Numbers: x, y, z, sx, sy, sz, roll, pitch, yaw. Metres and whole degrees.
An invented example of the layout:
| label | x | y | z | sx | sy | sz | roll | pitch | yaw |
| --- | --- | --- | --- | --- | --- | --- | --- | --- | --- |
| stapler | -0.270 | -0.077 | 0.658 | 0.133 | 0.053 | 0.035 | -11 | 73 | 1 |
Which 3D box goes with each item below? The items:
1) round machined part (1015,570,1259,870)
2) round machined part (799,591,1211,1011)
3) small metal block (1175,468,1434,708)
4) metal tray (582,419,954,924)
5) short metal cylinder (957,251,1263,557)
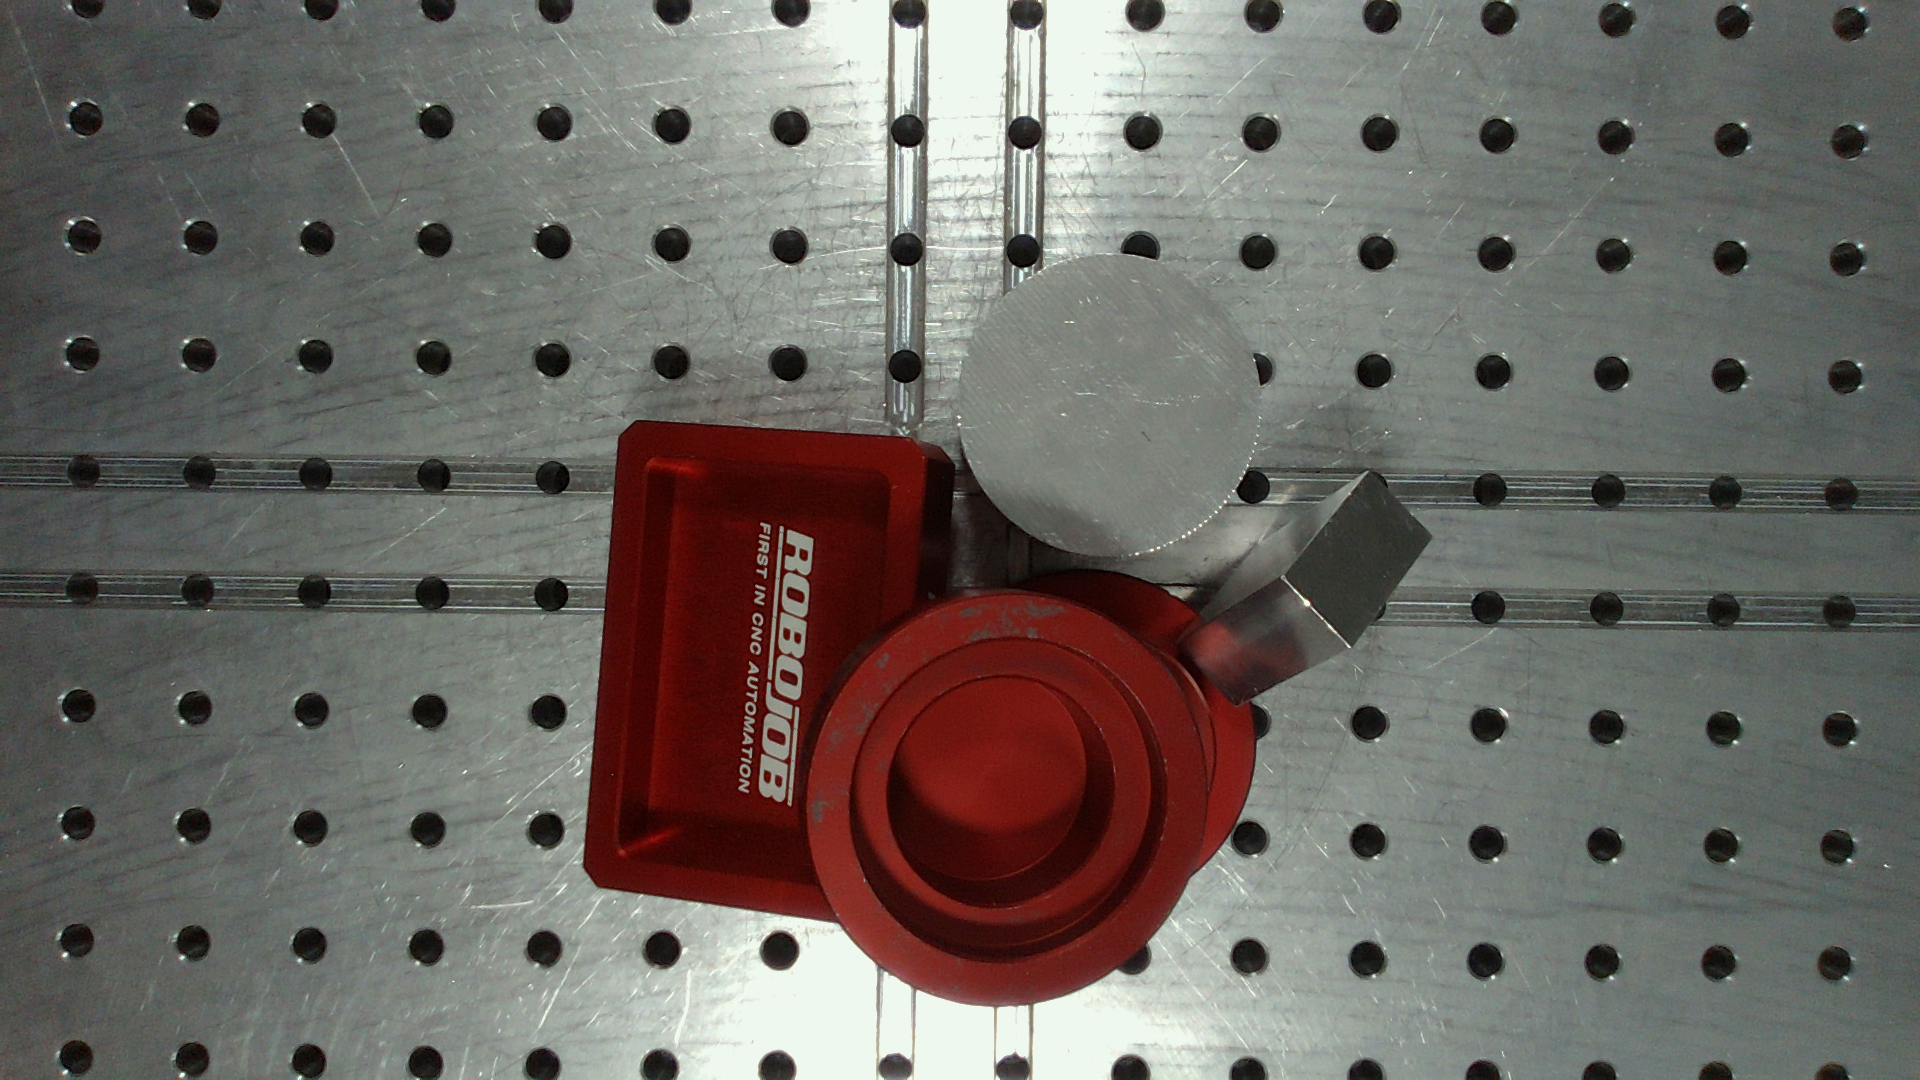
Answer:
| label | x | y | z | sx | sy | sz | roll | pitch | yaw |
| --- | --- | --- | --- | --- | --- | --- | --- | --- | --- |
| round machined part | 0.036 | 0.058 | 0.388 | 0.098 | 0.042 | 0.098 | 0 | 90 | 0 |
| round machined part | 0.009 | 0.061 | 0.342 | 0.098 | 0.042 | 0.098 | 0 | 92 | -10 |
| small metal block | 0.094 | 0.014 | 0.376 | 0.025 | 0.050 | 0.050 | 46 | 55 | 0 |
| metal tray | -0.053 | 0.035 | 0.384 | 0.090 | 0.030 | 0.130 | 5 | 90 | 14 |
| short metal cylinder | 0.039 | -0.036 | 0.385 | 0.080 | 0.050 | 0.080 | 0 | 90 | 0 |
